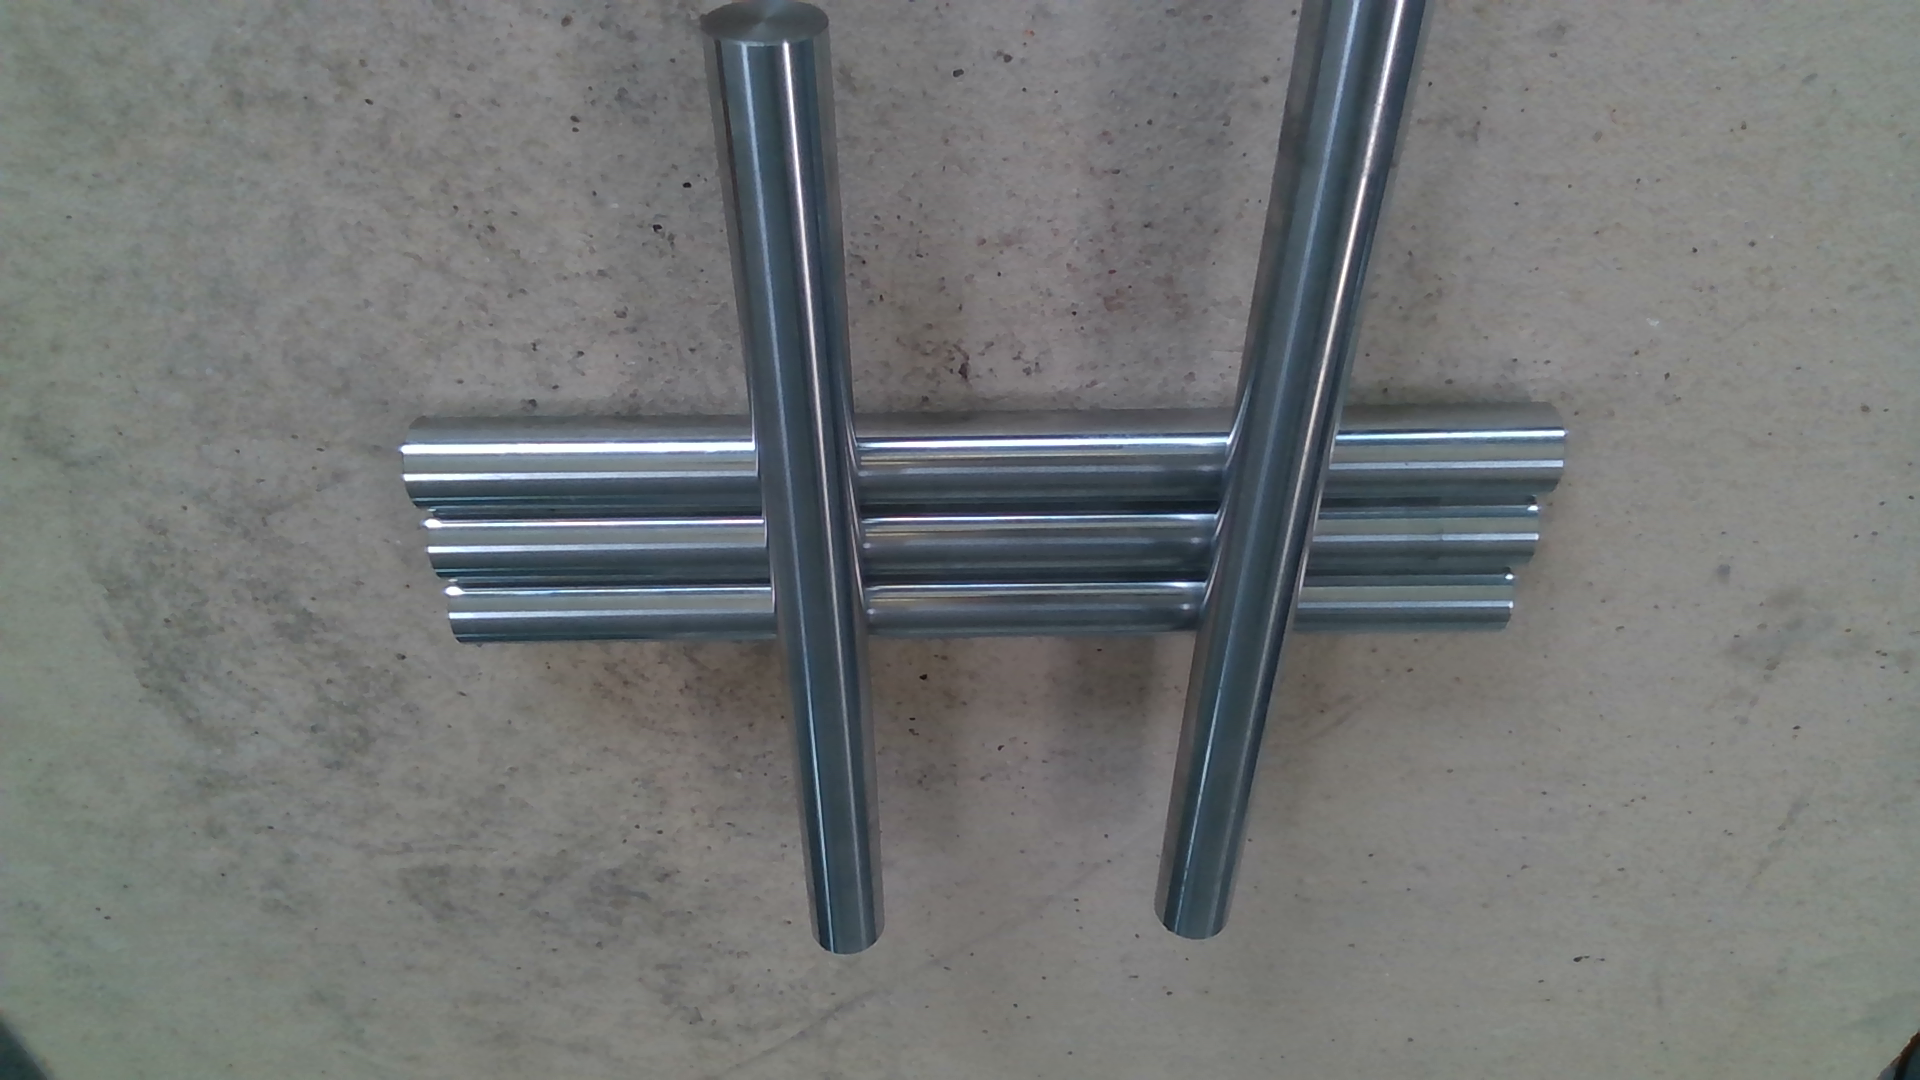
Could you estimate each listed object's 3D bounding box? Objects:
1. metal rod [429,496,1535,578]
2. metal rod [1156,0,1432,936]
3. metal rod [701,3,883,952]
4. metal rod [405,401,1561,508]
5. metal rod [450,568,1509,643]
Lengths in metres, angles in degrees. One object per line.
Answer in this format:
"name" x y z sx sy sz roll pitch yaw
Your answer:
"metal rod" 0.005 -0.004 0.386 0.300 0.025 0.025 -1 130 1
"metal rod" 0.078 0.007 0.362 0.025 0.025 0.301 0 130 0
"metal rod" -0.038 0.014 0.368 0.025 0.025 0.301 0 130 0
"metal rod" 0.005 -0.023 0.370 0.300 0.025 0.025 -1 130 1
"metal rod" 0.005 0.016 0.402 0.300 0.025 0.025 -1 130 1
